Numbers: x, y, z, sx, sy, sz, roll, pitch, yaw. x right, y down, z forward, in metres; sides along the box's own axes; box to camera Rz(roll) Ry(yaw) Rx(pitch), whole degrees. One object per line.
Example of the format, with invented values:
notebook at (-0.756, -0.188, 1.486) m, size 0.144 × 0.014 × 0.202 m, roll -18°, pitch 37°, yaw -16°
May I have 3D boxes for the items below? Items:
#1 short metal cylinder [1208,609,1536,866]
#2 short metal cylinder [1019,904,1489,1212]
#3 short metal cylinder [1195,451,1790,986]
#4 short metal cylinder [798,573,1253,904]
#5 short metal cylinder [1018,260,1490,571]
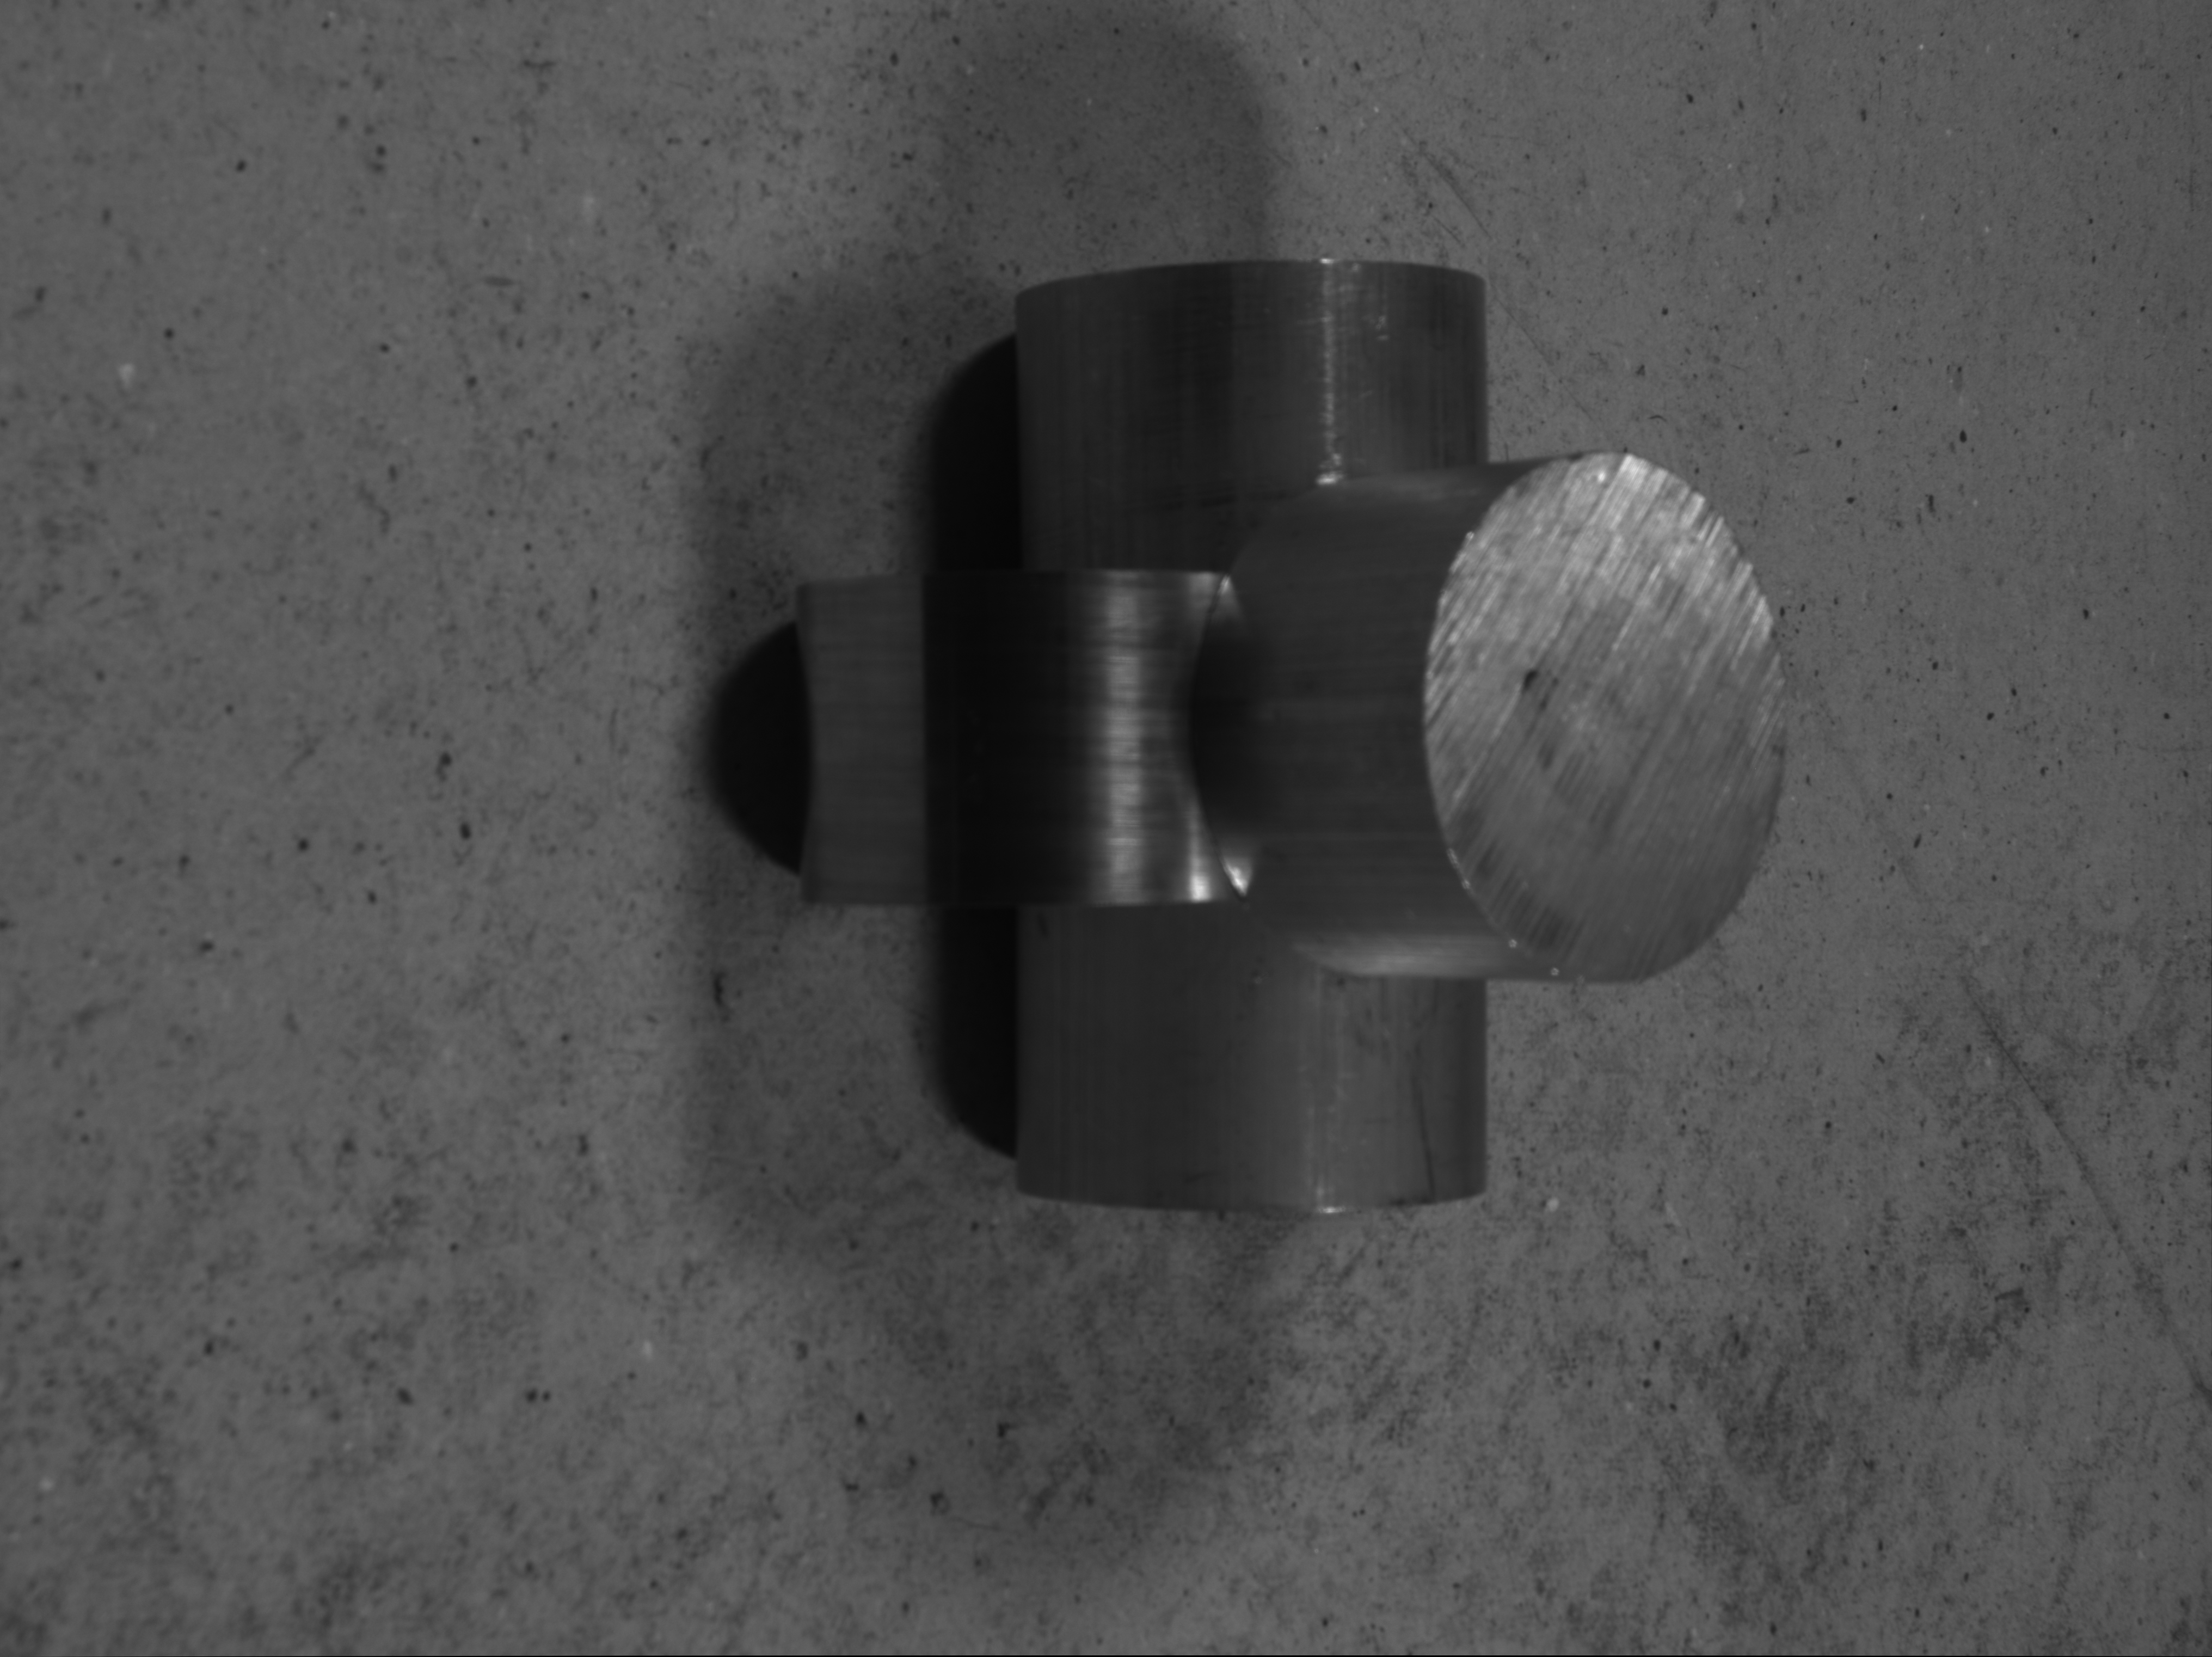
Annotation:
short metal cylinder at (0.053, -0.014, 0.646) m, size 0.080 × 0.080 × 0.050 m, roll 0°, pitch 90°, yaw -40°
short metal cylinder at (0.025, 0.036, 0.622) m, size 0.080 × 0.080 × 0.050 m, roll 0°, pitch 90°, yaw -40°
short metal cylinder at (0.060, -0.016, 0.567) m, size 0.080 × 0.050 × 0.080 m, roll 0°, pitch 90°, yaw -40°
short metal cylinder at (-0.010, -0.014, 0.594) m, size 0.080 × 0.080 × 0.050 m, roll -1°, pitch 91°, yaw -40°
short metal cylinder at (0.025, -0.066, 0.623) m, size 0.080 × 0.080 × 0.050 m, roll -2°, pitch 91°, yaw -40°
